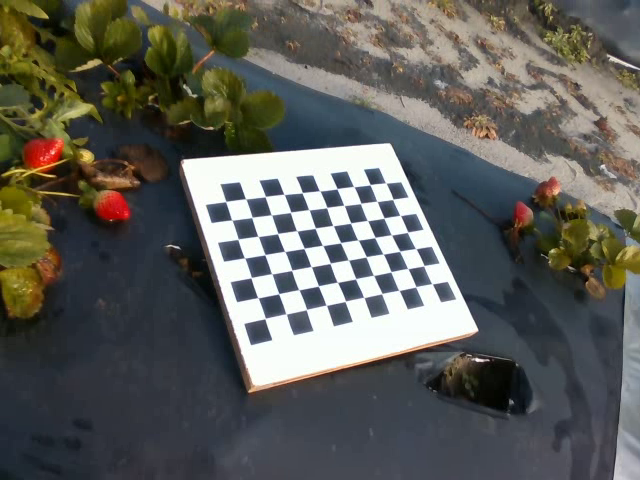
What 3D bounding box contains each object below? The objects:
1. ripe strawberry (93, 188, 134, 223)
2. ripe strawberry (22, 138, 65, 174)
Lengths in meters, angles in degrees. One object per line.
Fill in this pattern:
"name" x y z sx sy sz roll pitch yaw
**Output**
"ripe strawberry" -0.210 -0.034 0.653 0.043 0.035 0.030 35 -37 5
"ripe strawberry" -0.280 -0.092 0.655 0.048 0.040 0.031 -36 -15 8
